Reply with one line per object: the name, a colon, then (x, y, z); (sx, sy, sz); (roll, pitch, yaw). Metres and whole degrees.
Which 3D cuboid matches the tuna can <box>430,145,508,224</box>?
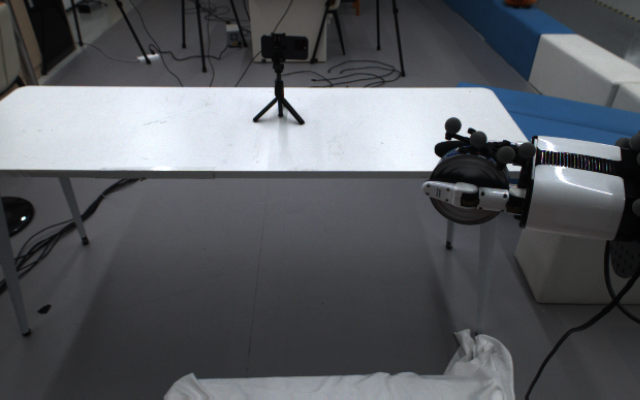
tuna can: (0.171, -0.019, 0.546); (0.085, 0.085, 0.034); (15, 28, 19)
